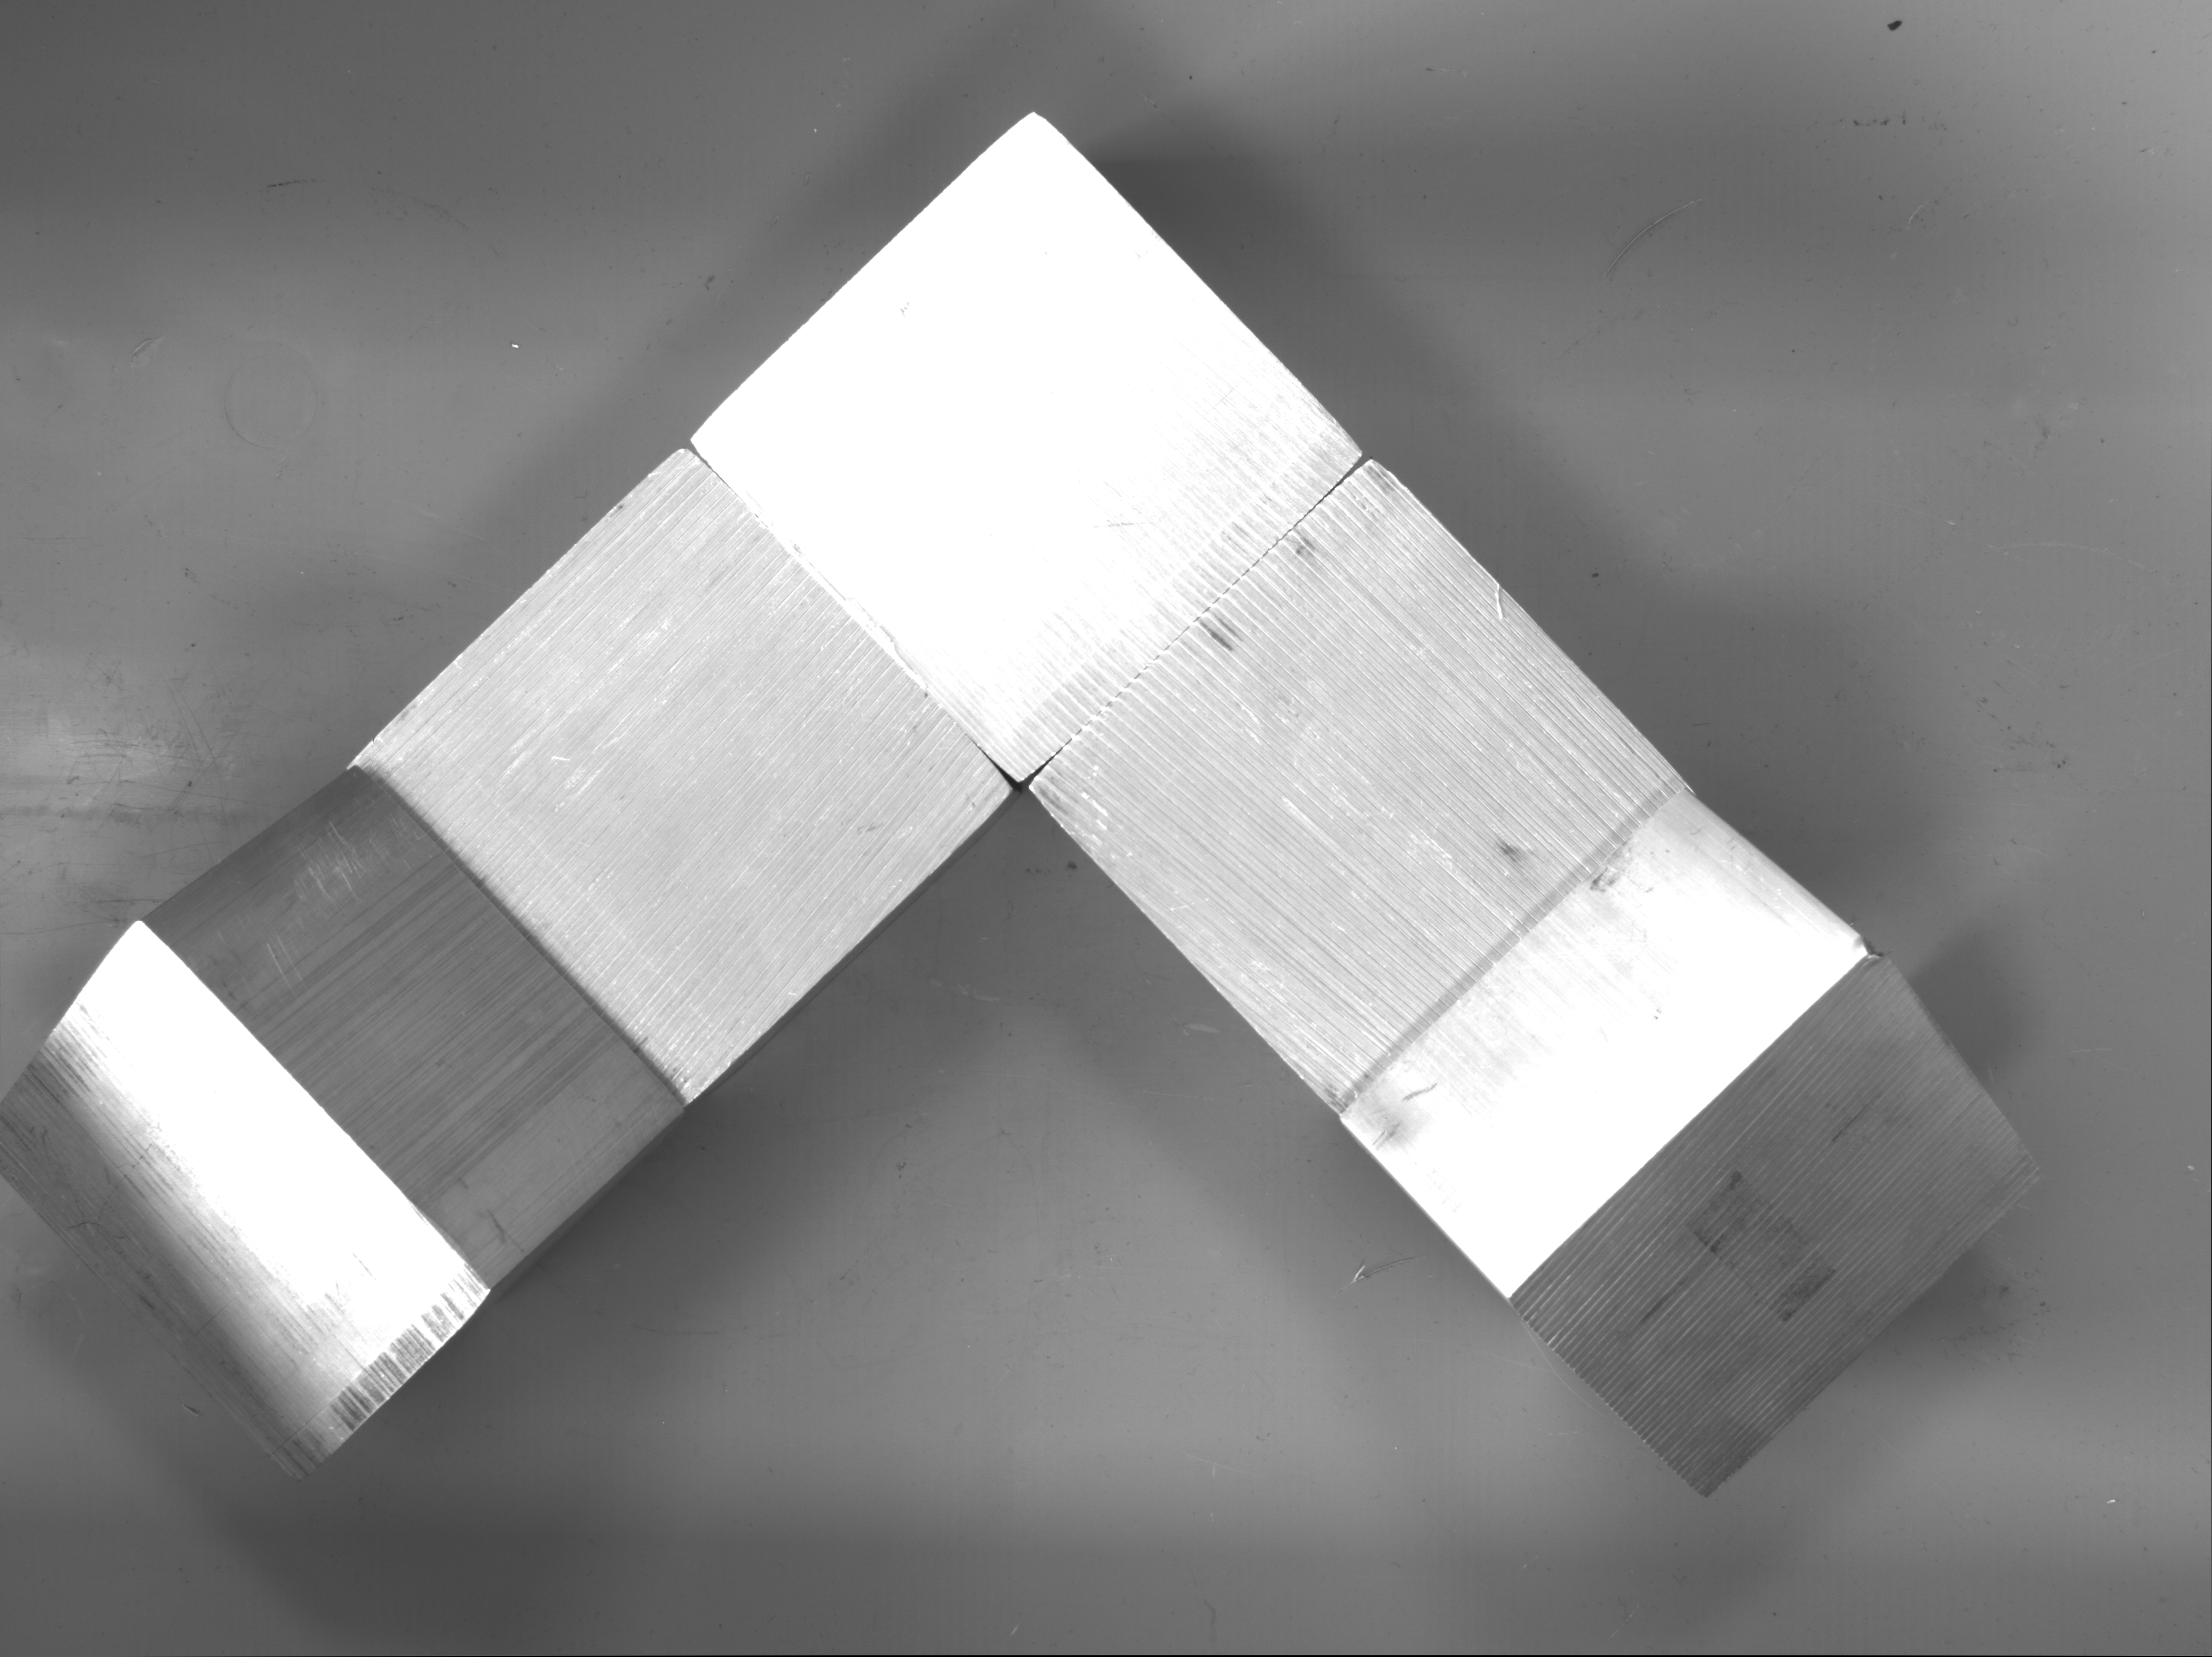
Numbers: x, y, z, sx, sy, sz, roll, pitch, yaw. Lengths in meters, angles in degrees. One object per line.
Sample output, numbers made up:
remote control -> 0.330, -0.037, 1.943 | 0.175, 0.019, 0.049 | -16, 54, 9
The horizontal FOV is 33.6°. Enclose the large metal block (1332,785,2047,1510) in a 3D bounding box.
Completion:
large metal block -> 0.098, 0.054, 0.610 | 0.080, 0.050, 0.080 | -44, 133, 0

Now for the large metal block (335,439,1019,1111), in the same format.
large metal block -> -0.071, -0.008, 0.631 | 0.080, 0.050, 0.080 | -44, 90, 0

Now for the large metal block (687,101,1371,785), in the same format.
large metal block -> -0.013, -0.064, 0.631 | 0.080, 0.050, 0.080 | -44, 90, 0

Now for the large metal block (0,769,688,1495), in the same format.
large metal block -> -0.130, 0.051, 0.609 | 0.080, 0.050, 0.080 | 46, 133, 0

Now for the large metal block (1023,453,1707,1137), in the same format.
large metal block -> 0.043, -0.005, 0.631 | 0.080, 0.050, 0.080 | -44, 90, 0
